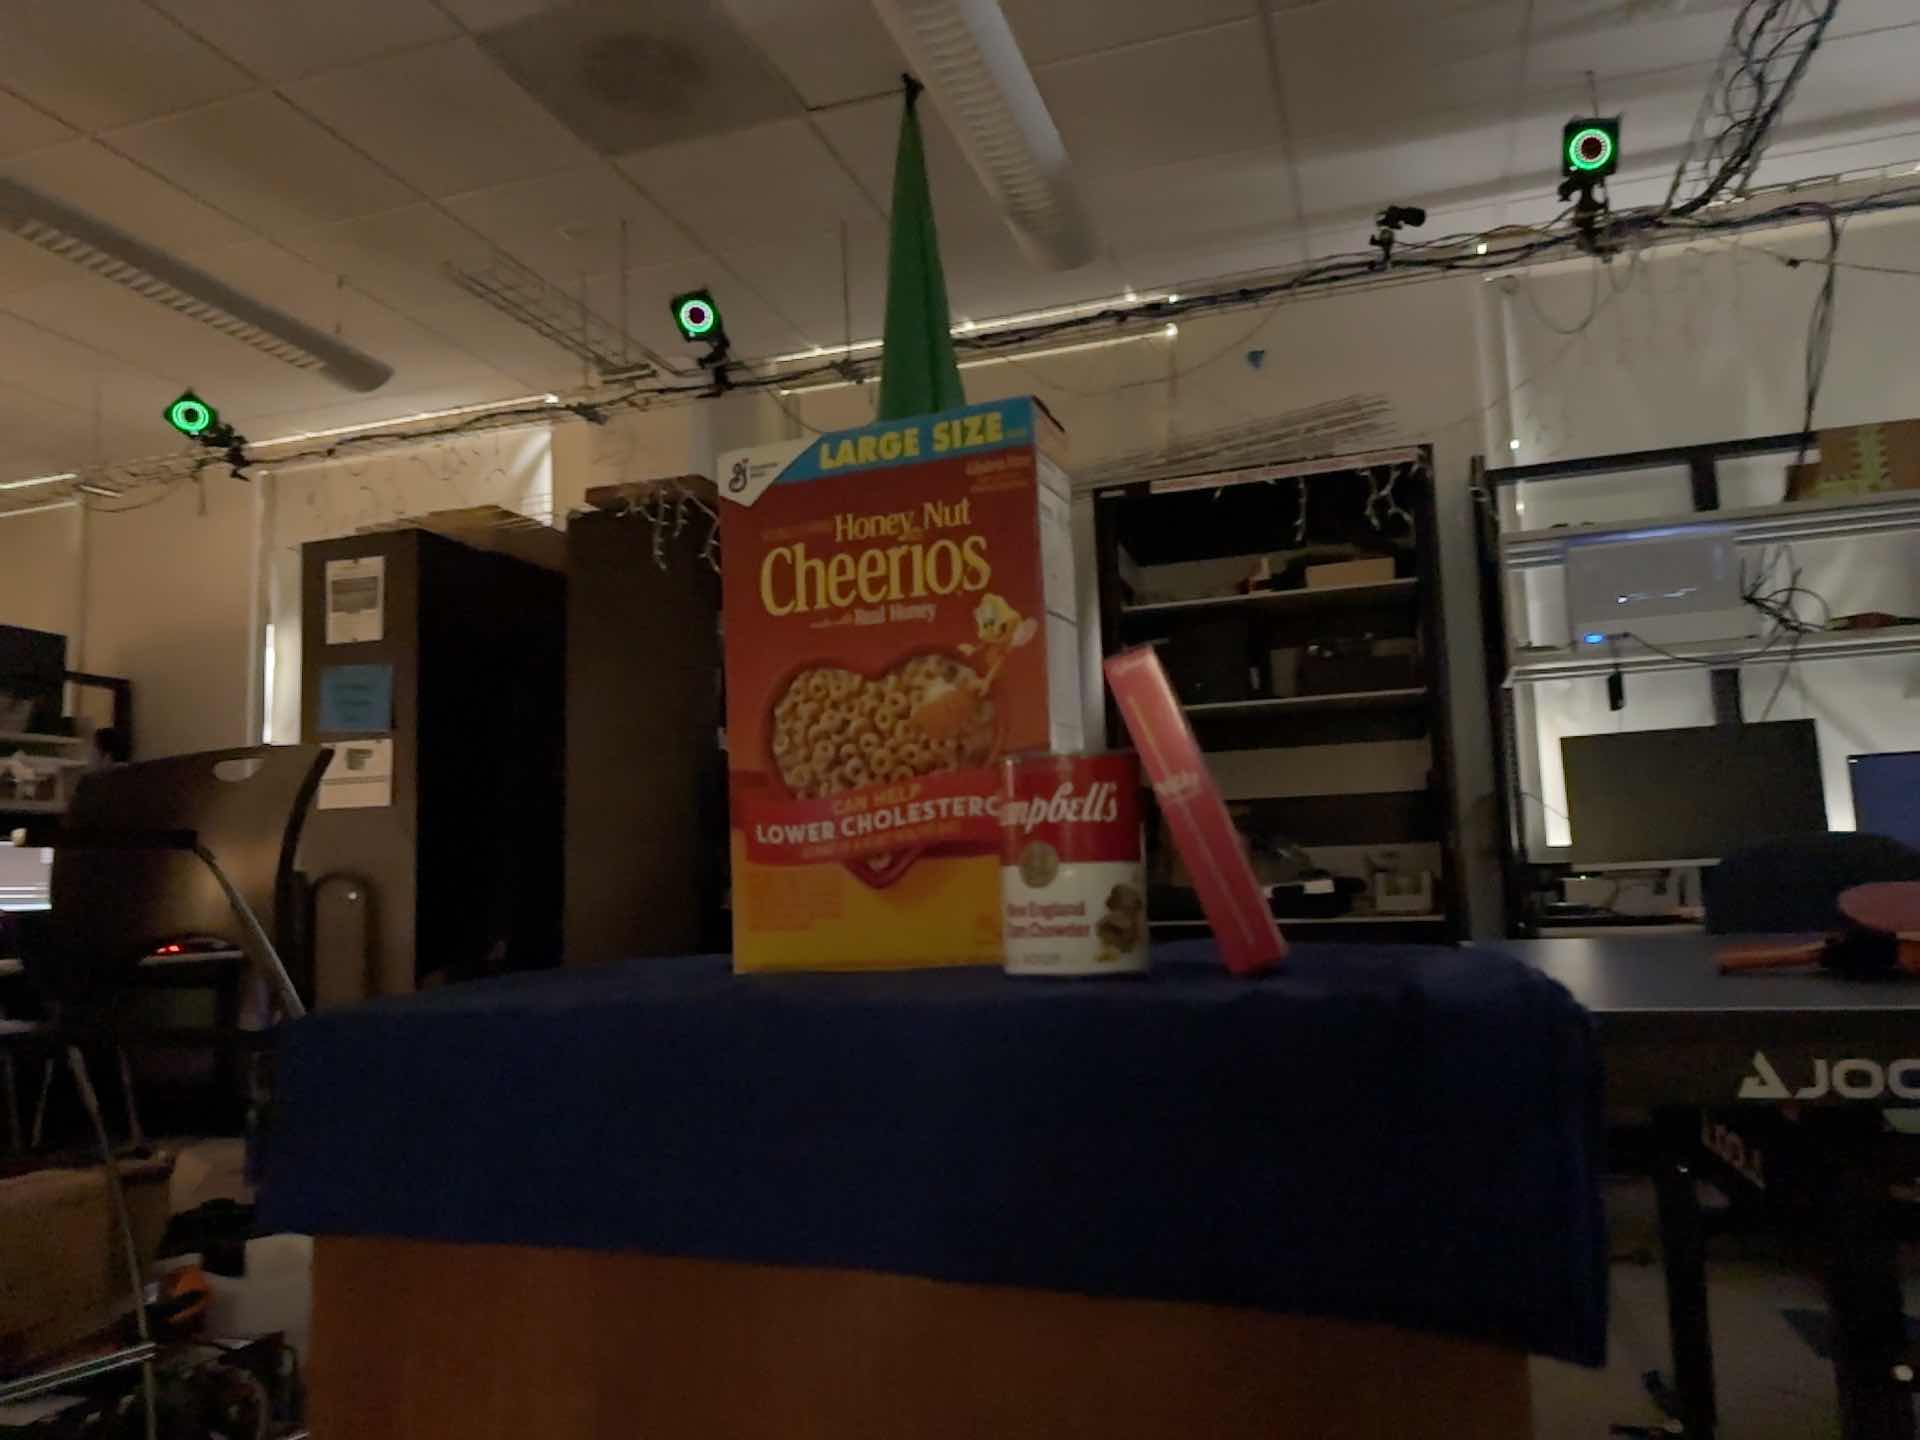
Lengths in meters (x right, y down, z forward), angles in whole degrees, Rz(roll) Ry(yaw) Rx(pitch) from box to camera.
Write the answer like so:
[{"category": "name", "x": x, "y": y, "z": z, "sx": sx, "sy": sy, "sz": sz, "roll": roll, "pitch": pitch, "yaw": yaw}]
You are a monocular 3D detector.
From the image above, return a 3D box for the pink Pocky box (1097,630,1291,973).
[{"category": "pink Pocky box", "x": 0.109, "y": 0.038, "z": 0.624, "sx": 0.029, "sy": 0.155, "sz": 0.084, "roll": -24, "pitch": -13, "yaw": 10}]

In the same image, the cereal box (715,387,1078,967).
[{"category": "cereal box", "x": -0.039, "y": -0.016, "z": 0.763, "sx": 0.195, "sy": 0.297, "sz": 0.065, "roll": -4, "pitch": -6, "yaw": 26}]

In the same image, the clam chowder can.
[{"category": "clam chowder can", "x": 0.053, "y": 0.069, "z": 0.633, "sx": 0.068, "sy": 0.102, "sz": 0.068, "roll": 0, "pitch": -5, "yaw": 0}]
